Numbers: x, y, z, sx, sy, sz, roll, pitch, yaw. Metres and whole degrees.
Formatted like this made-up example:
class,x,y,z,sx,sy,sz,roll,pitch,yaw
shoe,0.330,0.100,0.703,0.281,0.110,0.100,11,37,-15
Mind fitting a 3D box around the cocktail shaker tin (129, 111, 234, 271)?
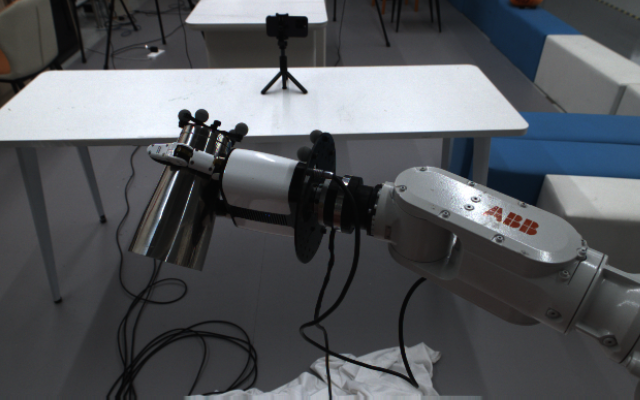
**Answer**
class,x,y,z,sx,sy,sz,roll,pitch,yaw
cocktail shaker tin,-0.166,-0.006,0.611,0.093,0.093,0.170,13,77,15
